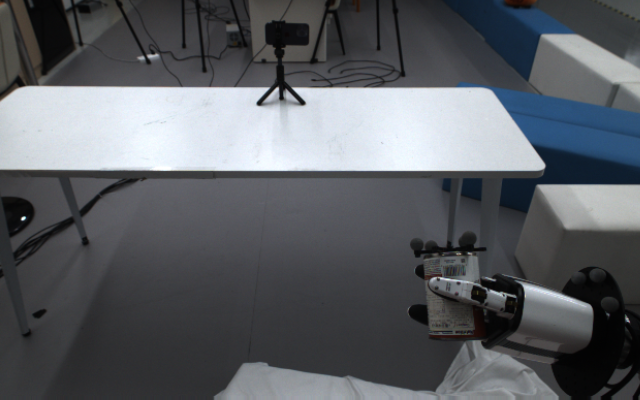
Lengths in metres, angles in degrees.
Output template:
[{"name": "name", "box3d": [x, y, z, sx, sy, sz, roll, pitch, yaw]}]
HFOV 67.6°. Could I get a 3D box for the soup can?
[{"name": "soup can", "box3d": [0.165, 0.115, 0.591, 0.067, 0.067, 0.101, 0, 75, -3]}]
